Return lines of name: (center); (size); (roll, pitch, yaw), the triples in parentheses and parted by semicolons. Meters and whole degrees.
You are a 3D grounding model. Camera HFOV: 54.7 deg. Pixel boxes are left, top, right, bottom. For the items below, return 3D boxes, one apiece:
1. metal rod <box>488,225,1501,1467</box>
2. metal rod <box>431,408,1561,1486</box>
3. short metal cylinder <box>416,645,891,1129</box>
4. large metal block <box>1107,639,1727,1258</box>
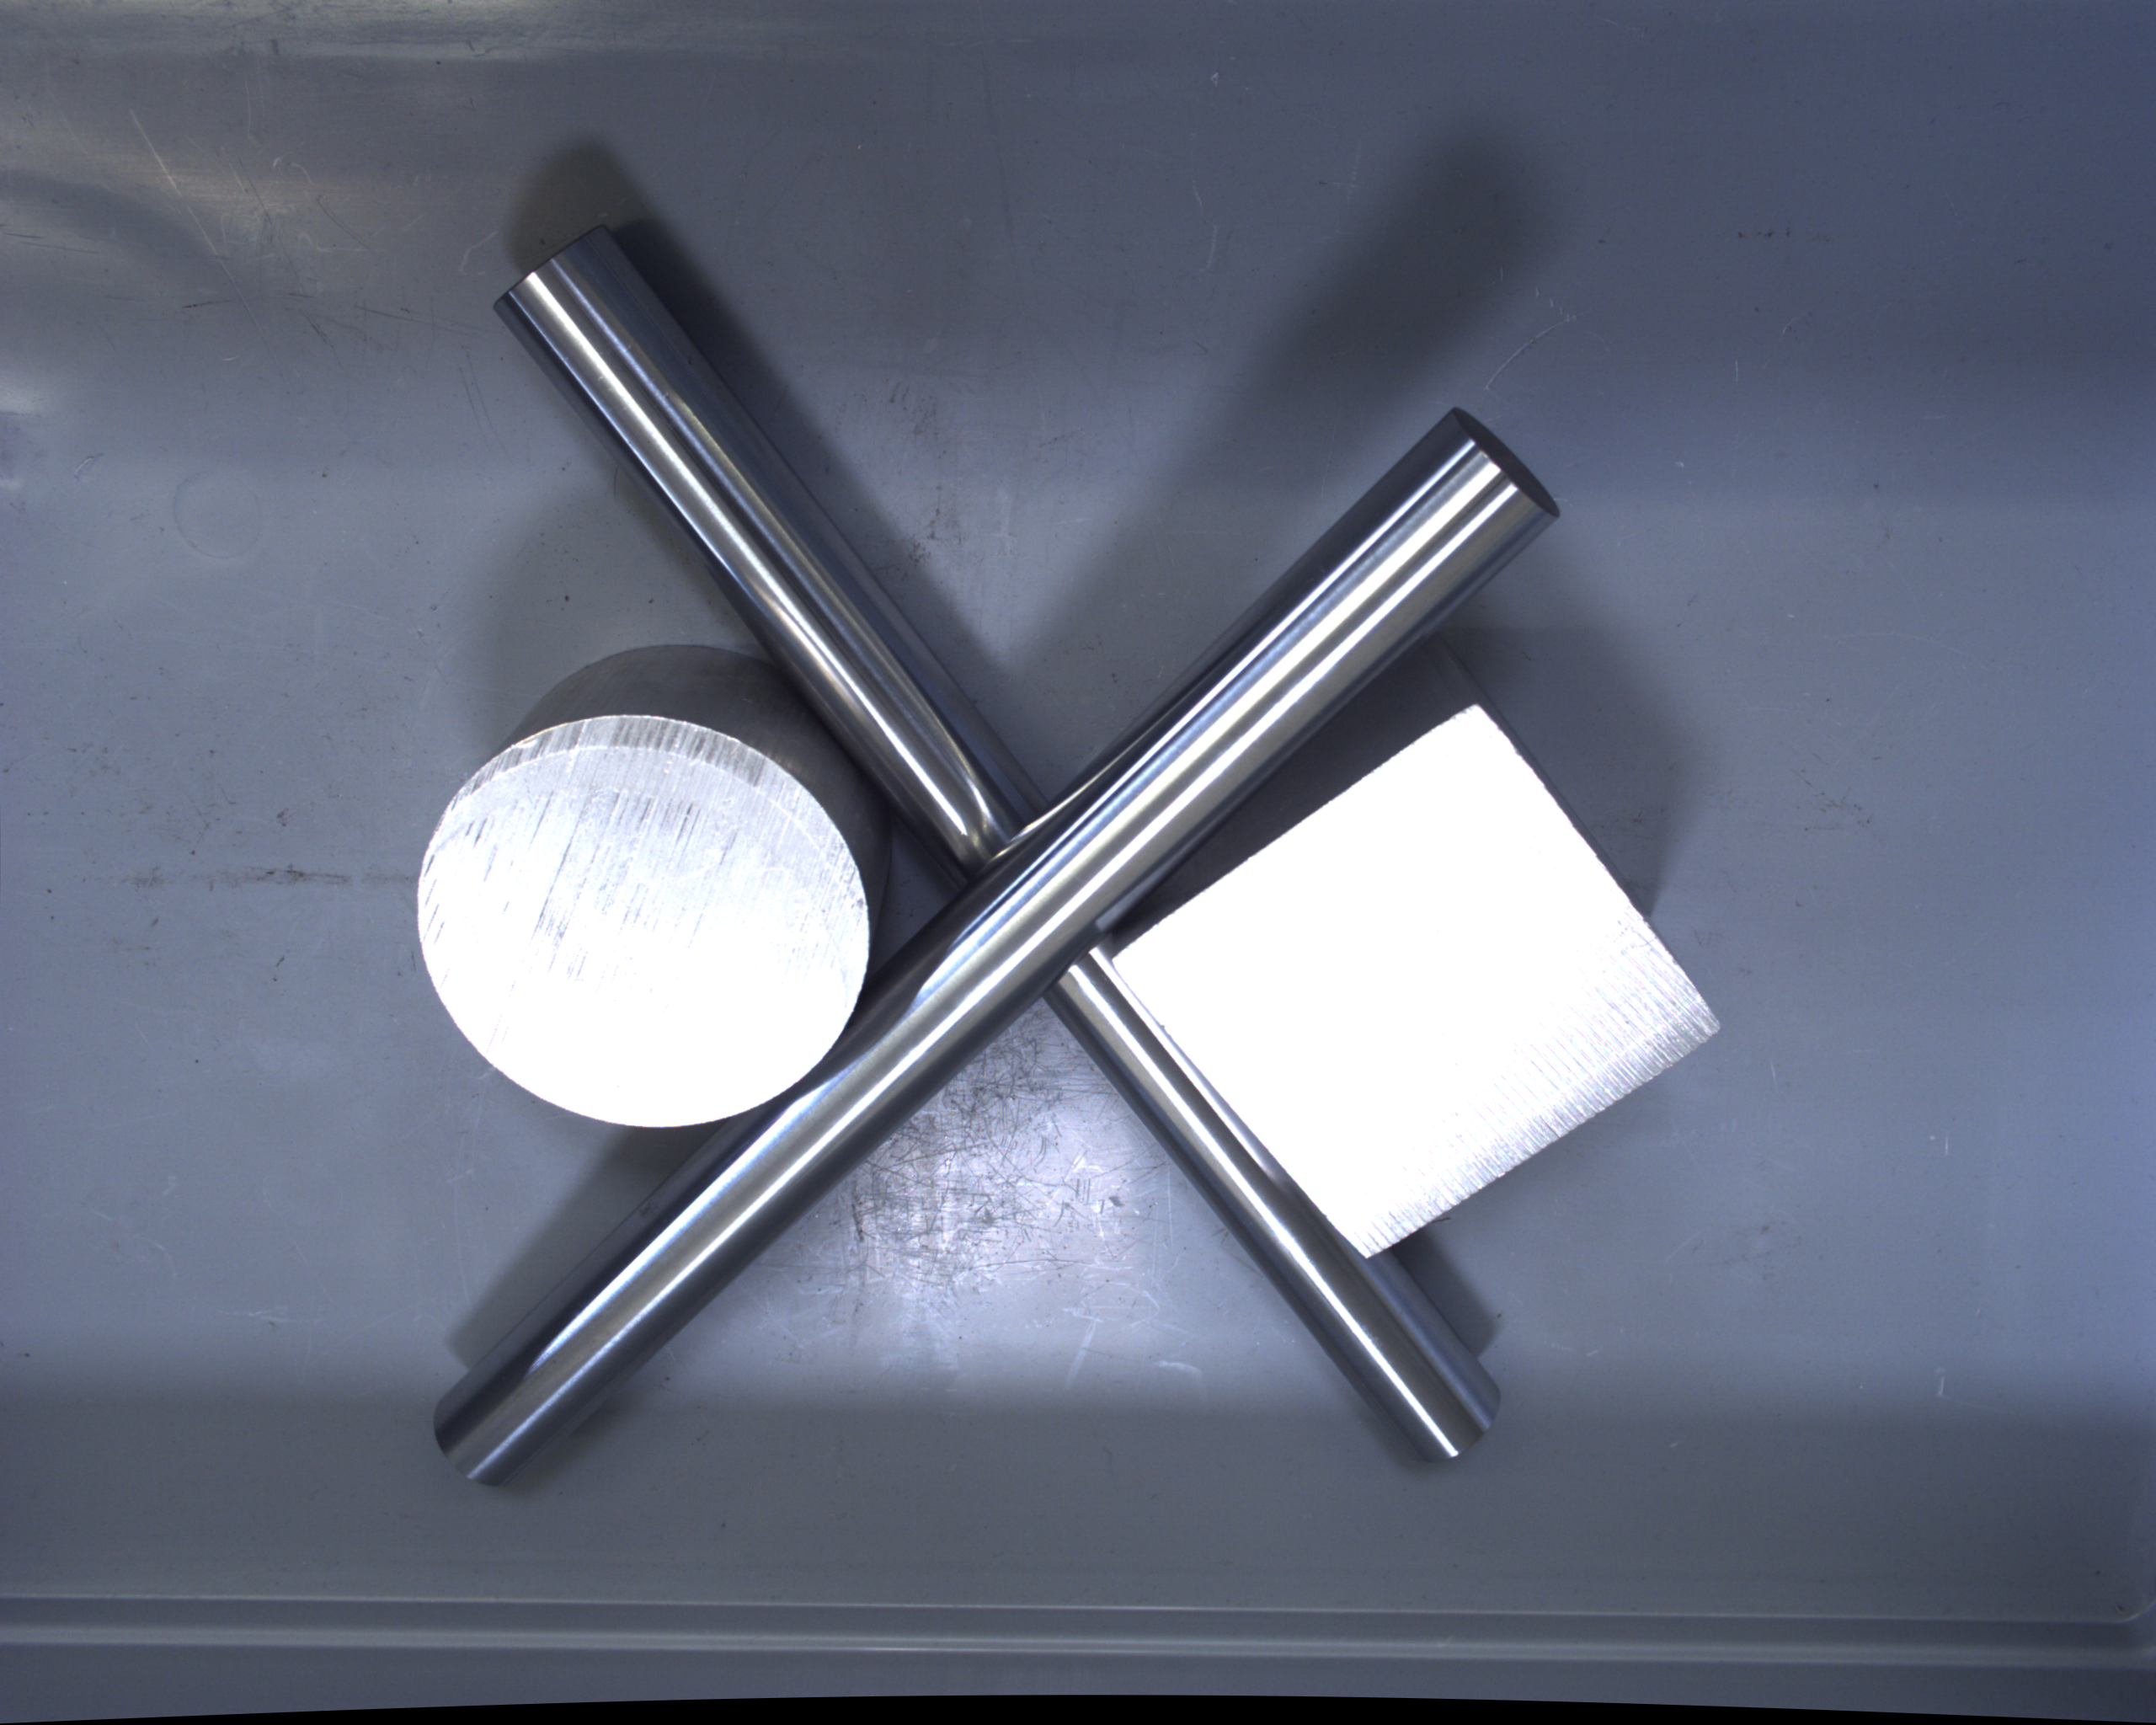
metal rod: (-0.006, 0.008, 0.412); (0.025, 0.025, 0.300); (-34, 107, 11)
metal rod: (-0.030, 0.030, 0.398); (0.025, 0.025, 0.299); (41, 113, -14)
short metal cylinder: (-0.078, 0.004, 0.397); (0.081, 0.050, 0.079); (0, 110, 0)
large metal block: (0.062, 0.014, 0.401); (0.080, 0.050, 0.080); (-37, 106, 12)
